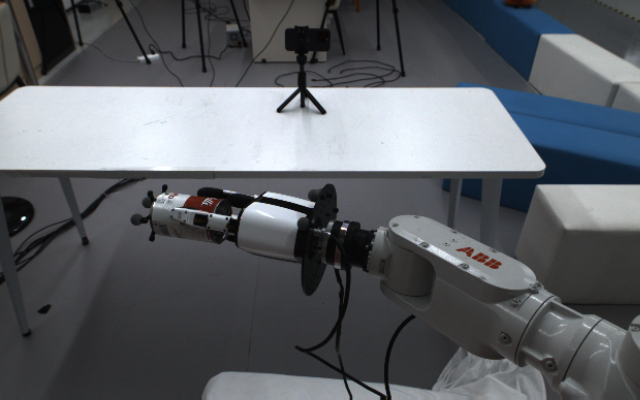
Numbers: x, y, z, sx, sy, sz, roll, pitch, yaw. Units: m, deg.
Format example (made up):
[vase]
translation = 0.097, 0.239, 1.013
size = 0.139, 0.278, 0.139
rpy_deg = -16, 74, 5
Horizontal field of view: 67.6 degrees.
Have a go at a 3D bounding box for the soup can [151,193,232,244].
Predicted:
[soup can]
translation = -0.190, 0.027, 0.722
size = 0.101, 0.067, 0.067
rpy_deg = 6, 35, 12
